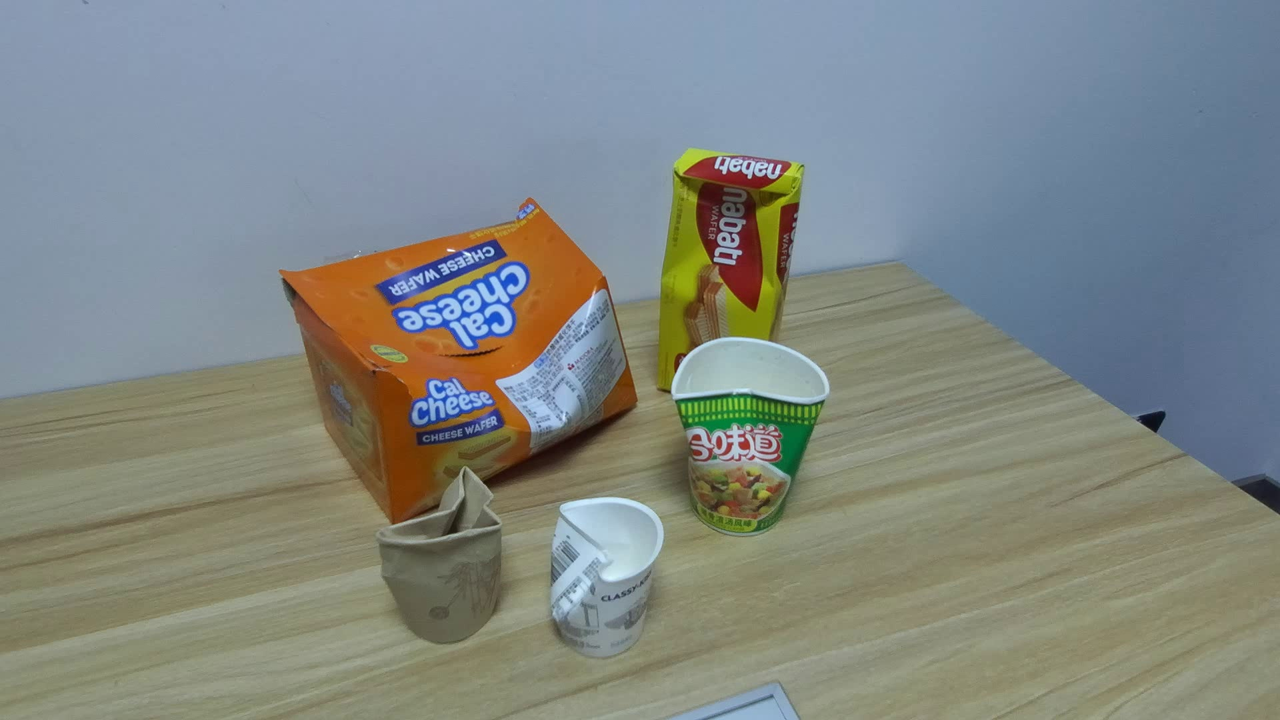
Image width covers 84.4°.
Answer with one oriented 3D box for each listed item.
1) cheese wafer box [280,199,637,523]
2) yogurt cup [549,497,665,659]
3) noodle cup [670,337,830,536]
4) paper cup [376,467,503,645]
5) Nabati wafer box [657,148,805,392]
[{"bbox_3d":[-0.121,-0.009,0.543,0.220,0.145,0.190,-24,40,-33],"label":"cheese wafer box"},{"bbox_3d":[-0.020,0.126,0.406,0.067,0.070,0.067,0,32,0],"label":"yogurt cup"},{"bbox_3d":[0.072,0.054,0.475,0.093,0.109,0.087,14,37,20],"label":"noodle cup"},{"bbox_3d":[-0.113,0.113,0.411,0.066,0.083,0.058,-9,33,-15],"label":"paper cup"},{"bbox_3d":[0.067,-0.058,0.564,0.096,0.203,0.042,13,33,15],"label":"Nabati wafer box"}]
